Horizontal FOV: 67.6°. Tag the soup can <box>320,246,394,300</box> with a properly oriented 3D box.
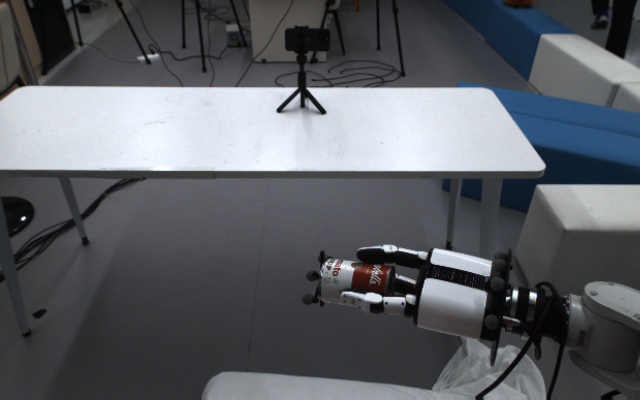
[{"bbox_3d":[0.059,0.125,0.717,0.101,0.067,0.067,4,34,18],"label":"soup can"}]
